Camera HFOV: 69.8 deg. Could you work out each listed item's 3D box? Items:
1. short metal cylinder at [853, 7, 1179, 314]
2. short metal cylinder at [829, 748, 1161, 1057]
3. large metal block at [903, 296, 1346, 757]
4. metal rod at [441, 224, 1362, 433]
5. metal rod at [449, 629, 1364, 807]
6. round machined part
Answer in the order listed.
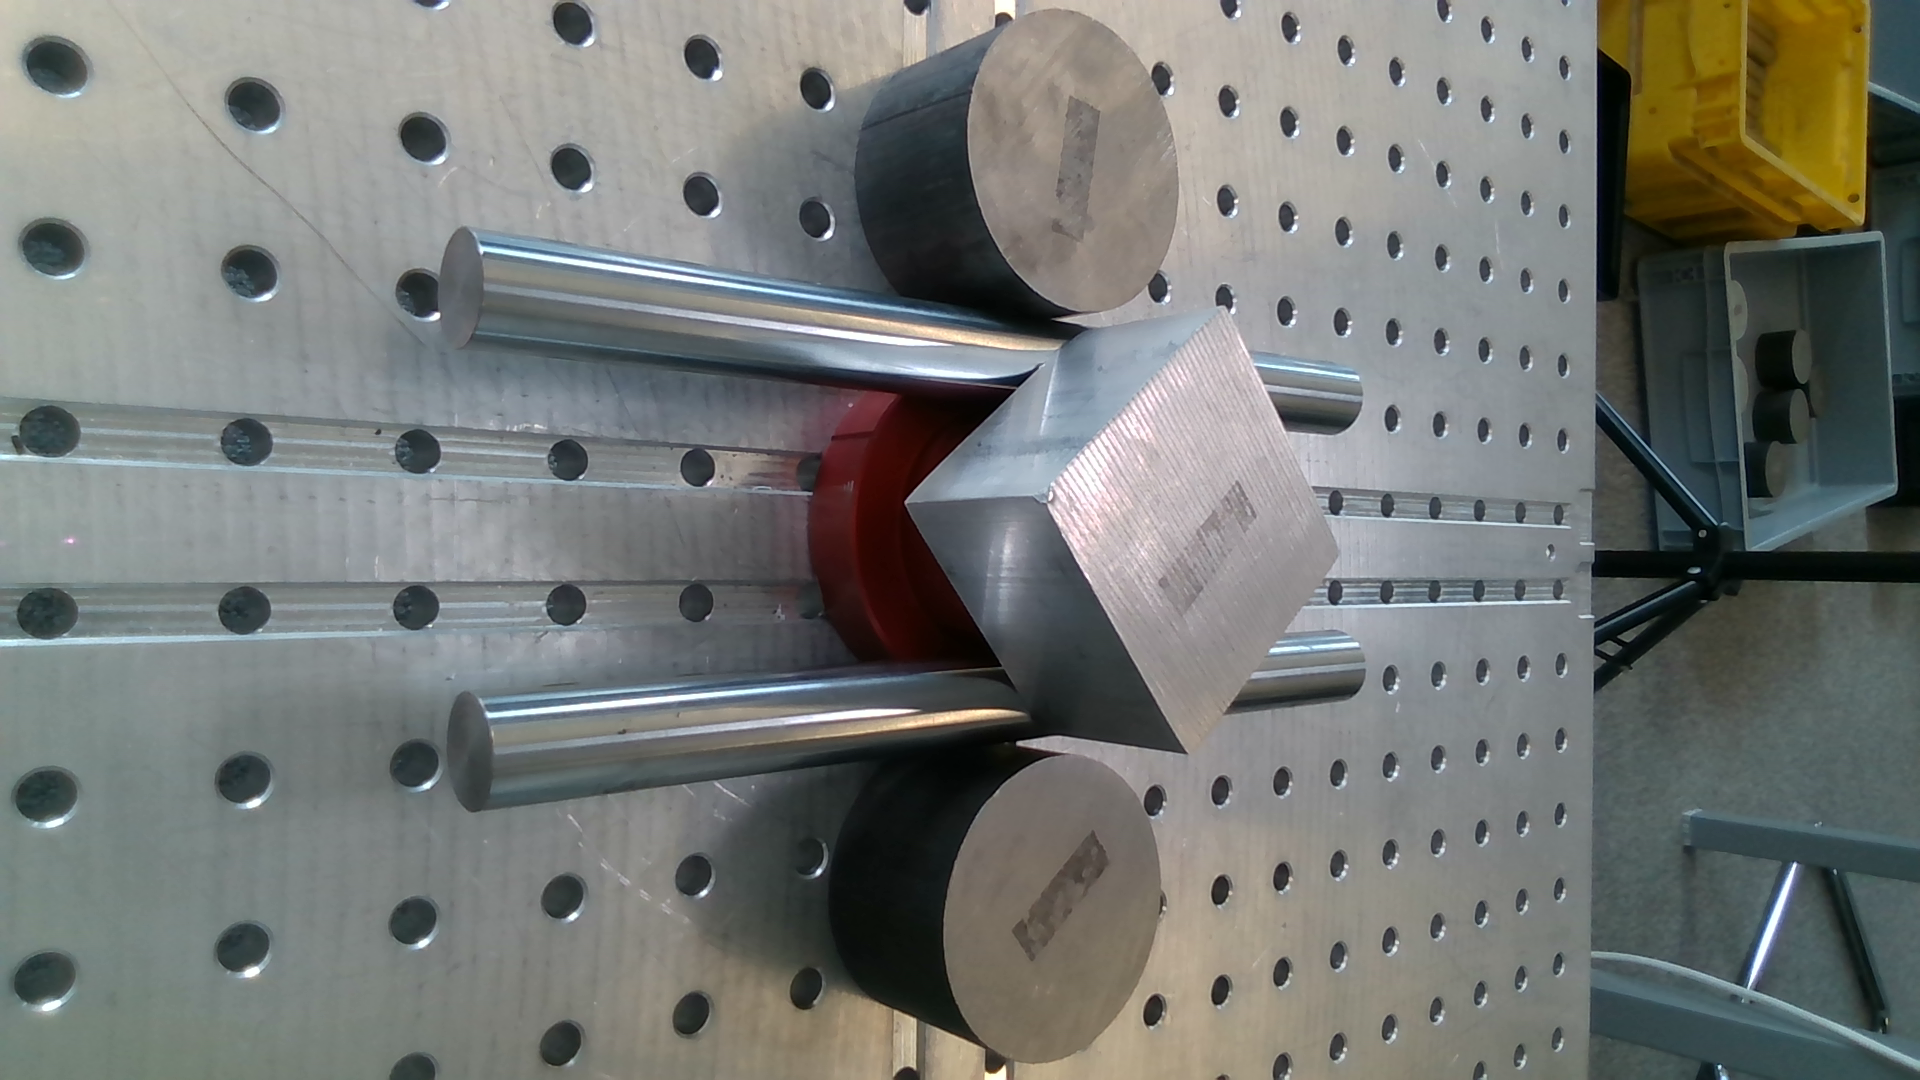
[{"bbox_3d":[0.017,-0.103,0.392,0.080,0.050,0.080,0,90,-40],"label":"short metal cylinder"},{"bbox_3d":[0.011,0.097,0.387,0.080,0.050,0.080,0,90,-40],"label":"short metal cylinder"},{"bbox_3d":[0.045,-0.004,0.354,0.080,0.050,0.080,-46,118,-30],"label":"large metal block"},{"bbox_3d":[0.013,-0.051,0.378,0.300,0.025,0.025,1,90,-40],"label":"metal rod"},{"bbox_3d":[0.014,0.042,0.379,0.300,0.025,0.025,0,90,-40],"label":"metal rod"},{"bbox_3d":[0.009,-0.004,0.391,0.098,0.042,0.098,0,90,-40],"label":"round machined part"}]
